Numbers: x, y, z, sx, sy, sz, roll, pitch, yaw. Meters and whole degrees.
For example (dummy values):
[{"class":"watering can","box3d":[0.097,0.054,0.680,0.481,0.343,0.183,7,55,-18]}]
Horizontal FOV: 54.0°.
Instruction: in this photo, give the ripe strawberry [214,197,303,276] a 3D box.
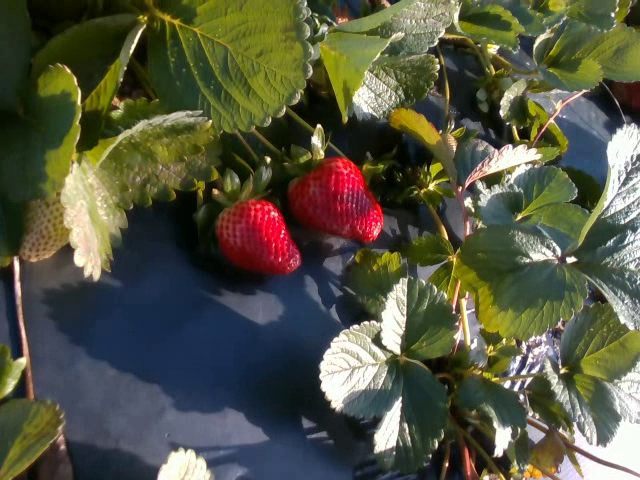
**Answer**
[{"class":"ripe strawberry","box3d":[-0.027,0.002,0.294,0.051,0.043,0.036,37,-8,11]}]

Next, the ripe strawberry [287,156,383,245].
[{"class":"ripe strawberry","box3d":[0.013,-0.018,0.326,0.057,0.052,0.046,43,-14,14]}]
